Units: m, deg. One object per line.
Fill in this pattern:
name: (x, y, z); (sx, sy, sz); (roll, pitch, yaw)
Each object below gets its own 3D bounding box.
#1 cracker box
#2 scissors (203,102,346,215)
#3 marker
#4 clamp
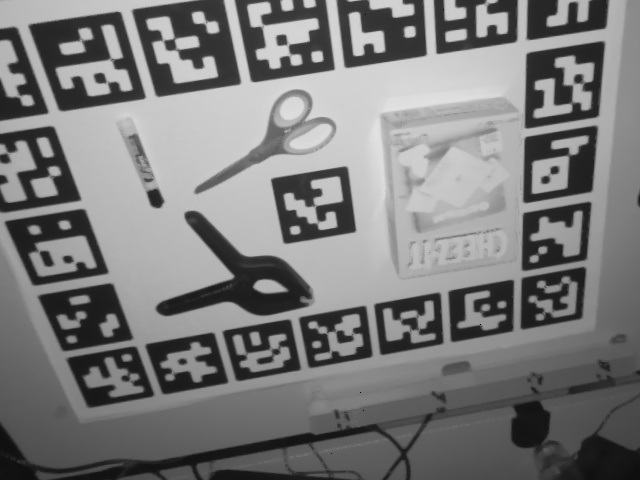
cracker box: (0.181, -0.040, 0.872); (0.165, 0.072, 0.212); (-8, 121, -2)
scissors: (-0.062, -0.085, 0.845); (0.201, 0.016, 0.088); (-34, 119, 15)
marker: (-0.204, -0.066, 0.837); (0.020, 0.020, 0.120); (-12, 121, 1)
clamp: (-0.087, 0.079, 0.943); (0.204, 0.037, 0.163); (18, 118, -16)
